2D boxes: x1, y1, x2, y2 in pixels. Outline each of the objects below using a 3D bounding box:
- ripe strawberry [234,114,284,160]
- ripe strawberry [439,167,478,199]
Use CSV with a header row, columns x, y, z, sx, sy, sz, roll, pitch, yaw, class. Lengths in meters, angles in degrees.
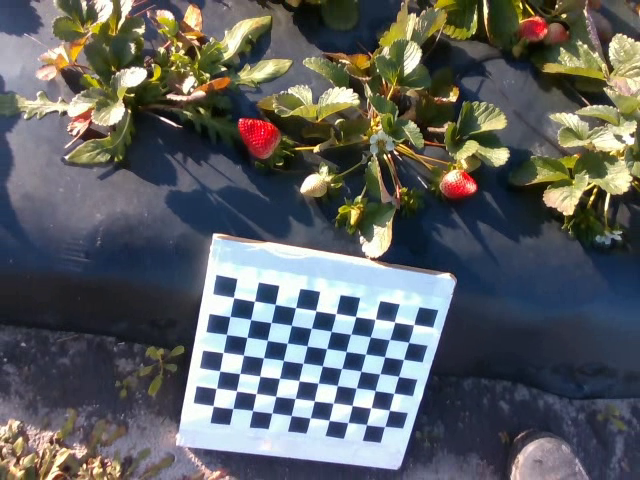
x,y,z,sx,sy,sz,roll,pitch,yaw,class
-0.060,-0.104,0.585,0.053,0.044,0.036,35,12,-24,ripe strawberry
0.142,-0.056,0.614,0.042,0.037,0.045,-18,23,-31,ripe strawberry
